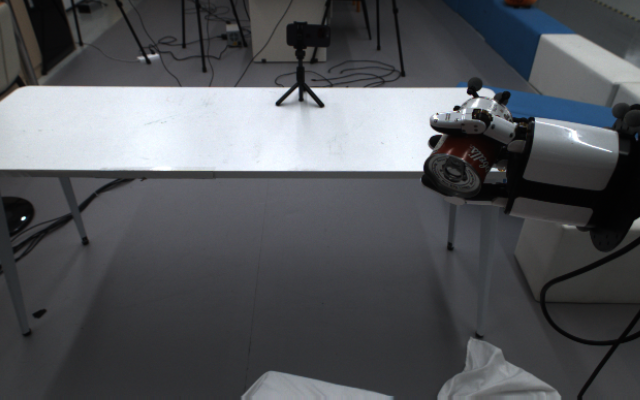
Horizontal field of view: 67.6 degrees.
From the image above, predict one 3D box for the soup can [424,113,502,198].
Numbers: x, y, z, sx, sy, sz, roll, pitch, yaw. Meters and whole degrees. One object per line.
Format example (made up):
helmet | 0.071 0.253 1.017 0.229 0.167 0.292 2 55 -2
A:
soup can | 0.175 -0.063 0.556 0.067 0.067 0.101 22 61 26
